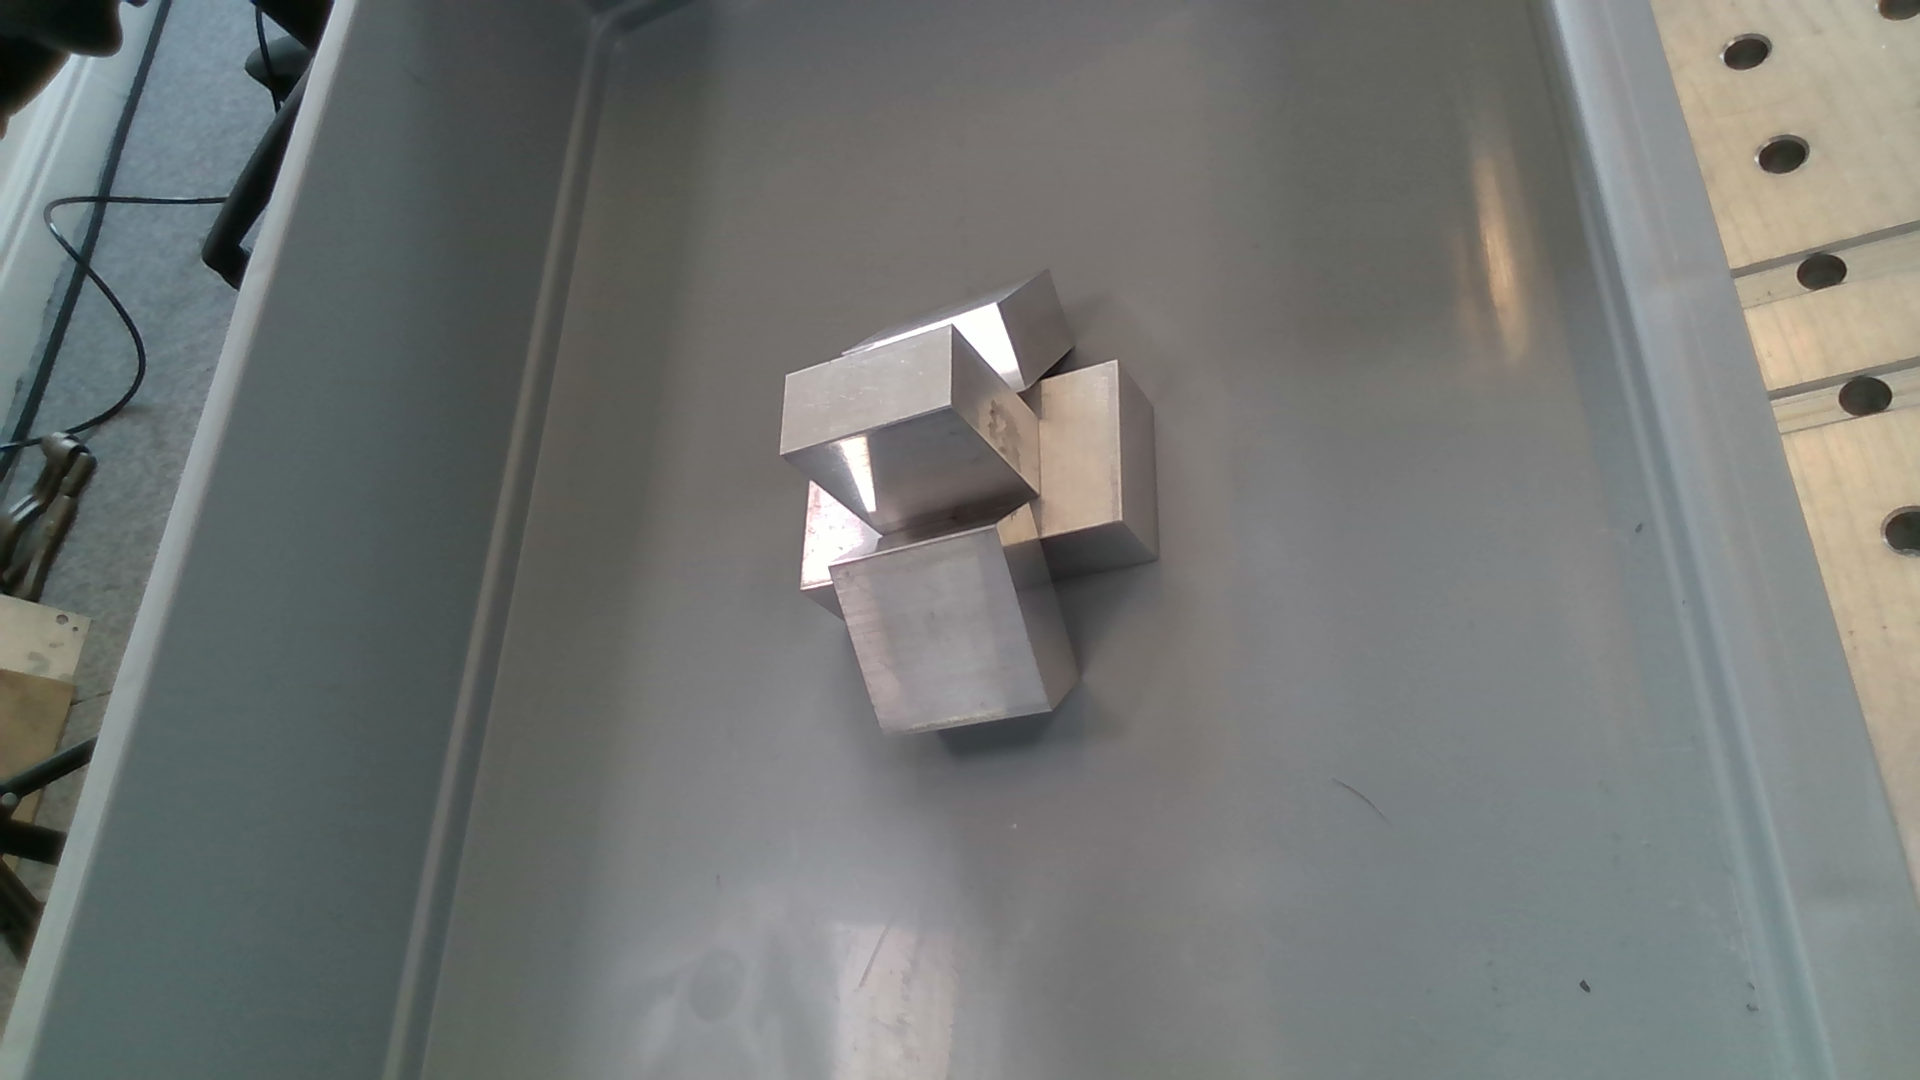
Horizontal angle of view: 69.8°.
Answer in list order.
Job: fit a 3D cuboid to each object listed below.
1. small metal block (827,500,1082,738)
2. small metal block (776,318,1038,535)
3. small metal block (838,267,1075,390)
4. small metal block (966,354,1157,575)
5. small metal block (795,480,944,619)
[{"bbox_3d":[-0.001,0.021,0.365,0.050,0.025,0.050,-13,99,26],"label":"small metal block"},{"bbox_3d":[-0.013,-0.028,0.365,0.050,0.050,0.025,-14,60,25],"label":"small metal block"},{"bbox_3d":[0.000,-0.056,0.403,0.050,0.025,0.050,-14,16,25],"label":"small metal block"},{"bbox_3d":[0.026,-0.018,0.384,0.050,0.025,0.050,-12,61,26],"label":"small metal block"},{"bbox_3d":[-0.018,-0.008,0.406,0.050,0.025,0.050,-12,60,26],"label":"small metal block"}]
